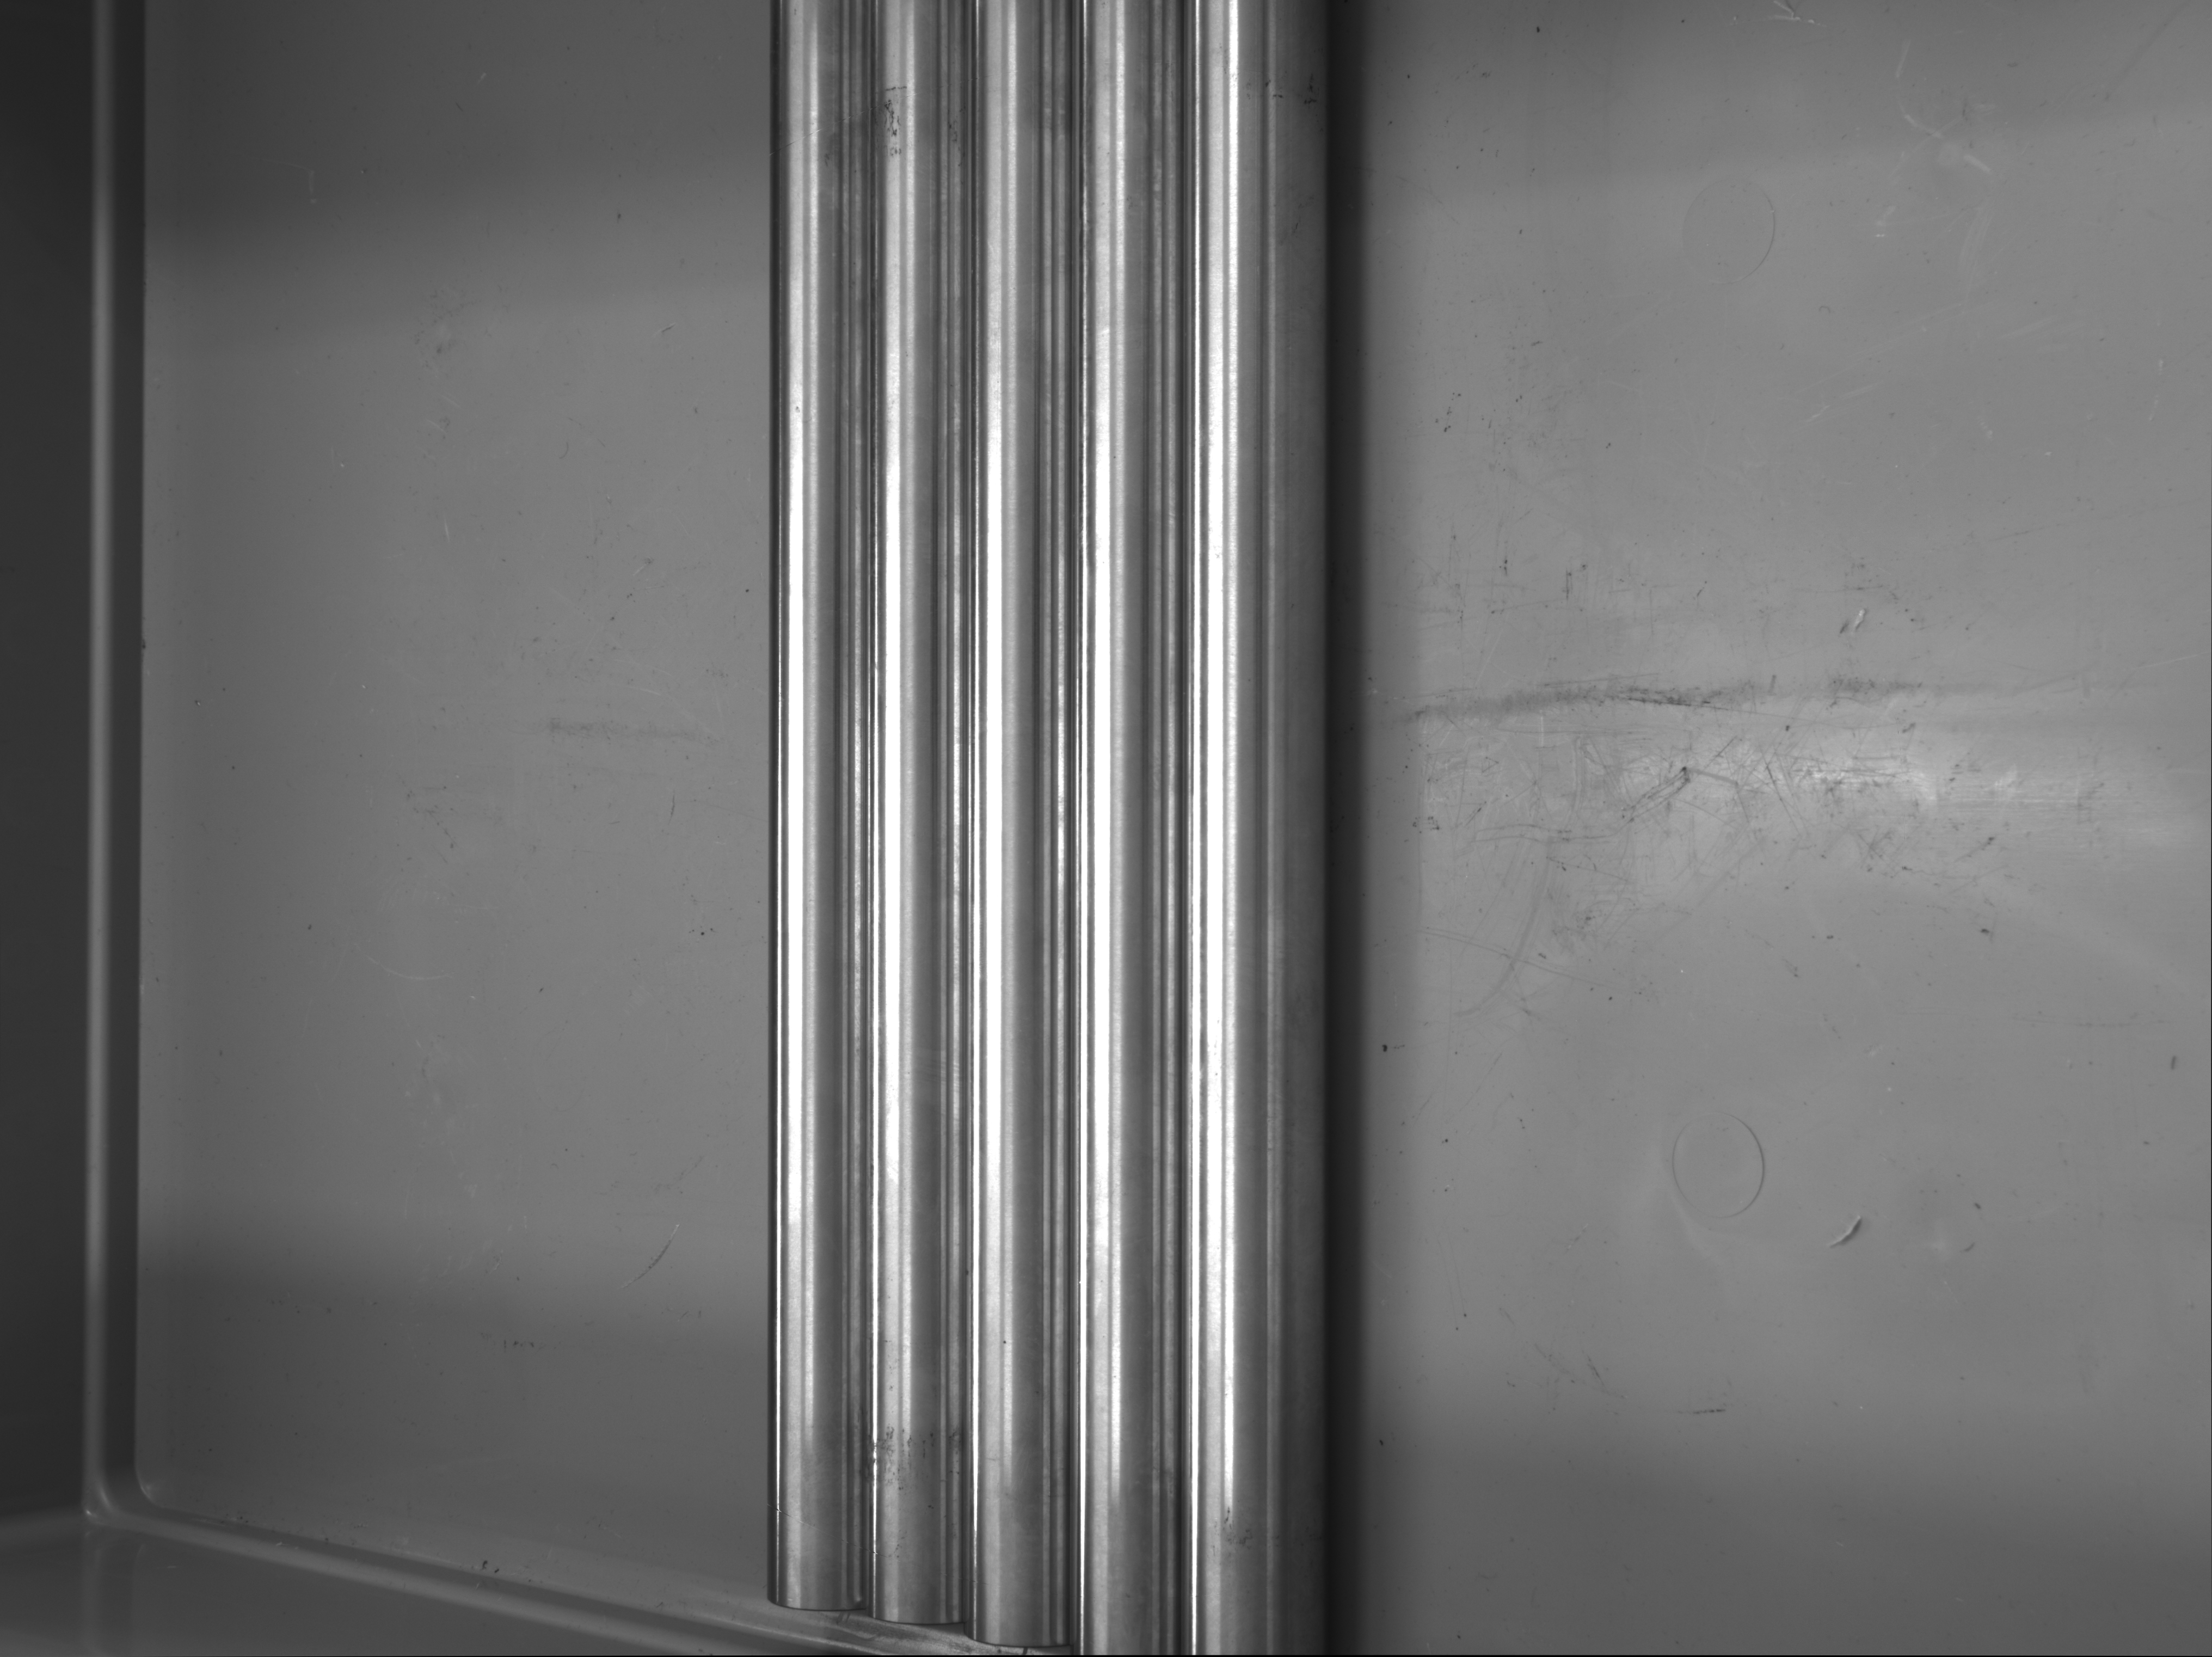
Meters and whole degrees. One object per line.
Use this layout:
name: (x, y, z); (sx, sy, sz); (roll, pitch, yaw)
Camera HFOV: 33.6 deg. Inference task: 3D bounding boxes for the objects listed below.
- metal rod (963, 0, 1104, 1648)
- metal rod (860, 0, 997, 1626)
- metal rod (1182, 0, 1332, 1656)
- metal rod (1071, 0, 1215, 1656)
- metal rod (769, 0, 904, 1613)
metal rod: (-0.013, -0.006, 0.655); (0.025, 0.025, 0.300); (0, 90, 40)
metal rod: (-0.032, -0.007, 0.671); (0.025, 0.025, 0.300); (0, 90, 40)
metal rod: (0.026, -0.006, 0.622); (0.025, 0.025, 0.300); (0, 90, 40)
metal rod: (0.007, -0.006, 0.638); (0.025, 0.025, 0.300); (0, 90, 40)
metal rod: (-0.050, -0.006, 0.686); (0.025, 0.025, 0.300); (0, 90, 40)
